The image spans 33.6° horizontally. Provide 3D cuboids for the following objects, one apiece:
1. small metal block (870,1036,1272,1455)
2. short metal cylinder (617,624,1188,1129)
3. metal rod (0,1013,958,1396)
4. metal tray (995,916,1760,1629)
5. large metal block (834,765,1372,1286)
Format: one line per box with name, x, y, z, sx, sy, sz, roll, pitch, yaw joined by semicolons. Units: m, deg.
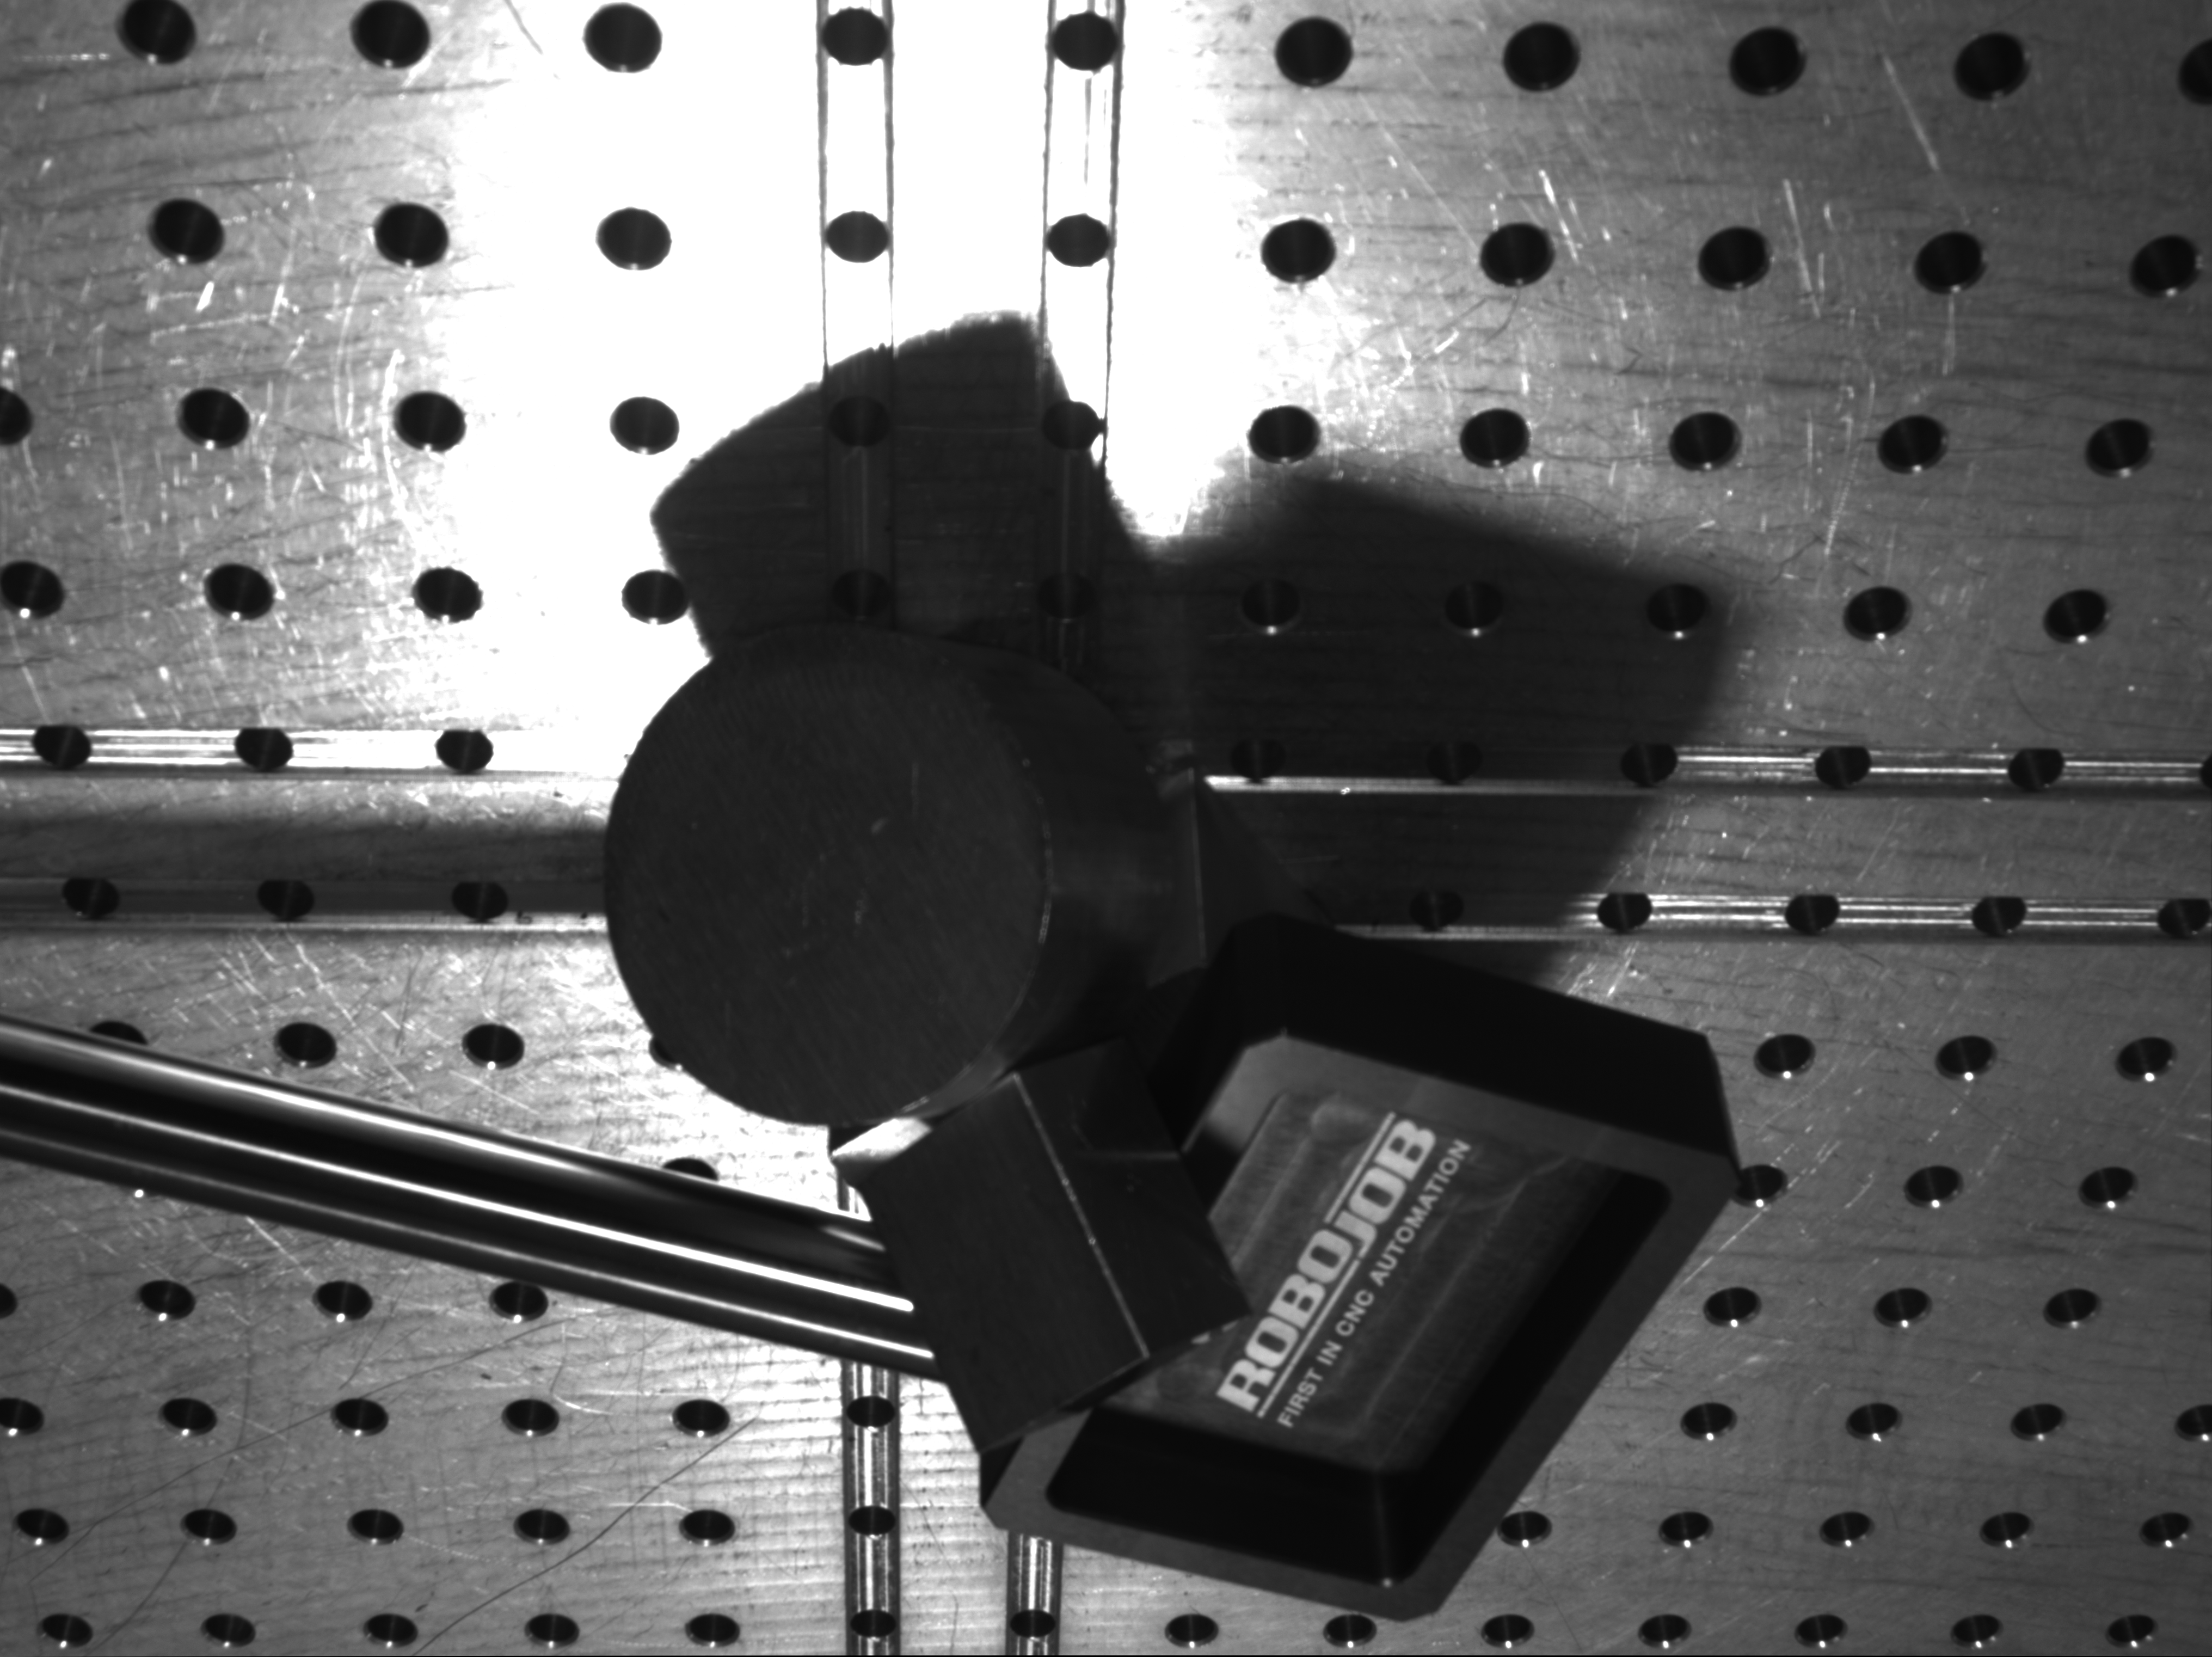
small metal block;-0.007;0.069;0.605;0.025;0.050;0.050;-15;164;-42
short metal cylinder;-0.033;0.008;0.603;0.080;0.080;0.050;-28;168;20
metal rod;-0.158;0.054;0.643;0.300;0.025;0.025;14;129;2
metal tray;0.044;0.081;0.638;0.090;0.030;0.130;16;127;-15
large metal block;0.008;0.048;0.664;0.080;0.050;0.080;-28;125;20
